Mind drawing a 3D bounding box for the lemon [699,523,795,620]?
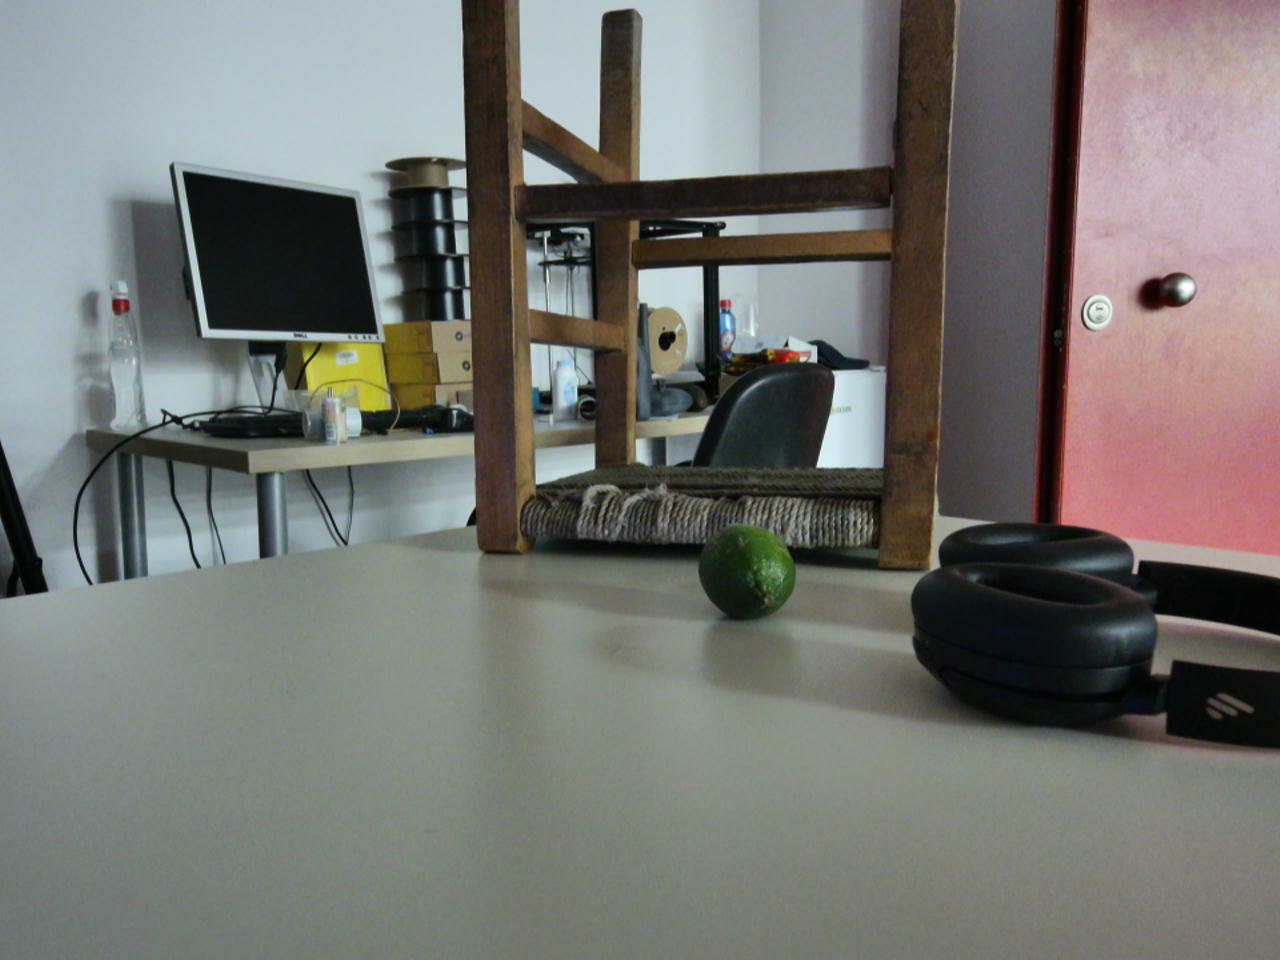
[{"bbox_3d":[0.060,0.050,0.555,0.057,0.051,0.054,5,8,44],"label":"lemon"}]
